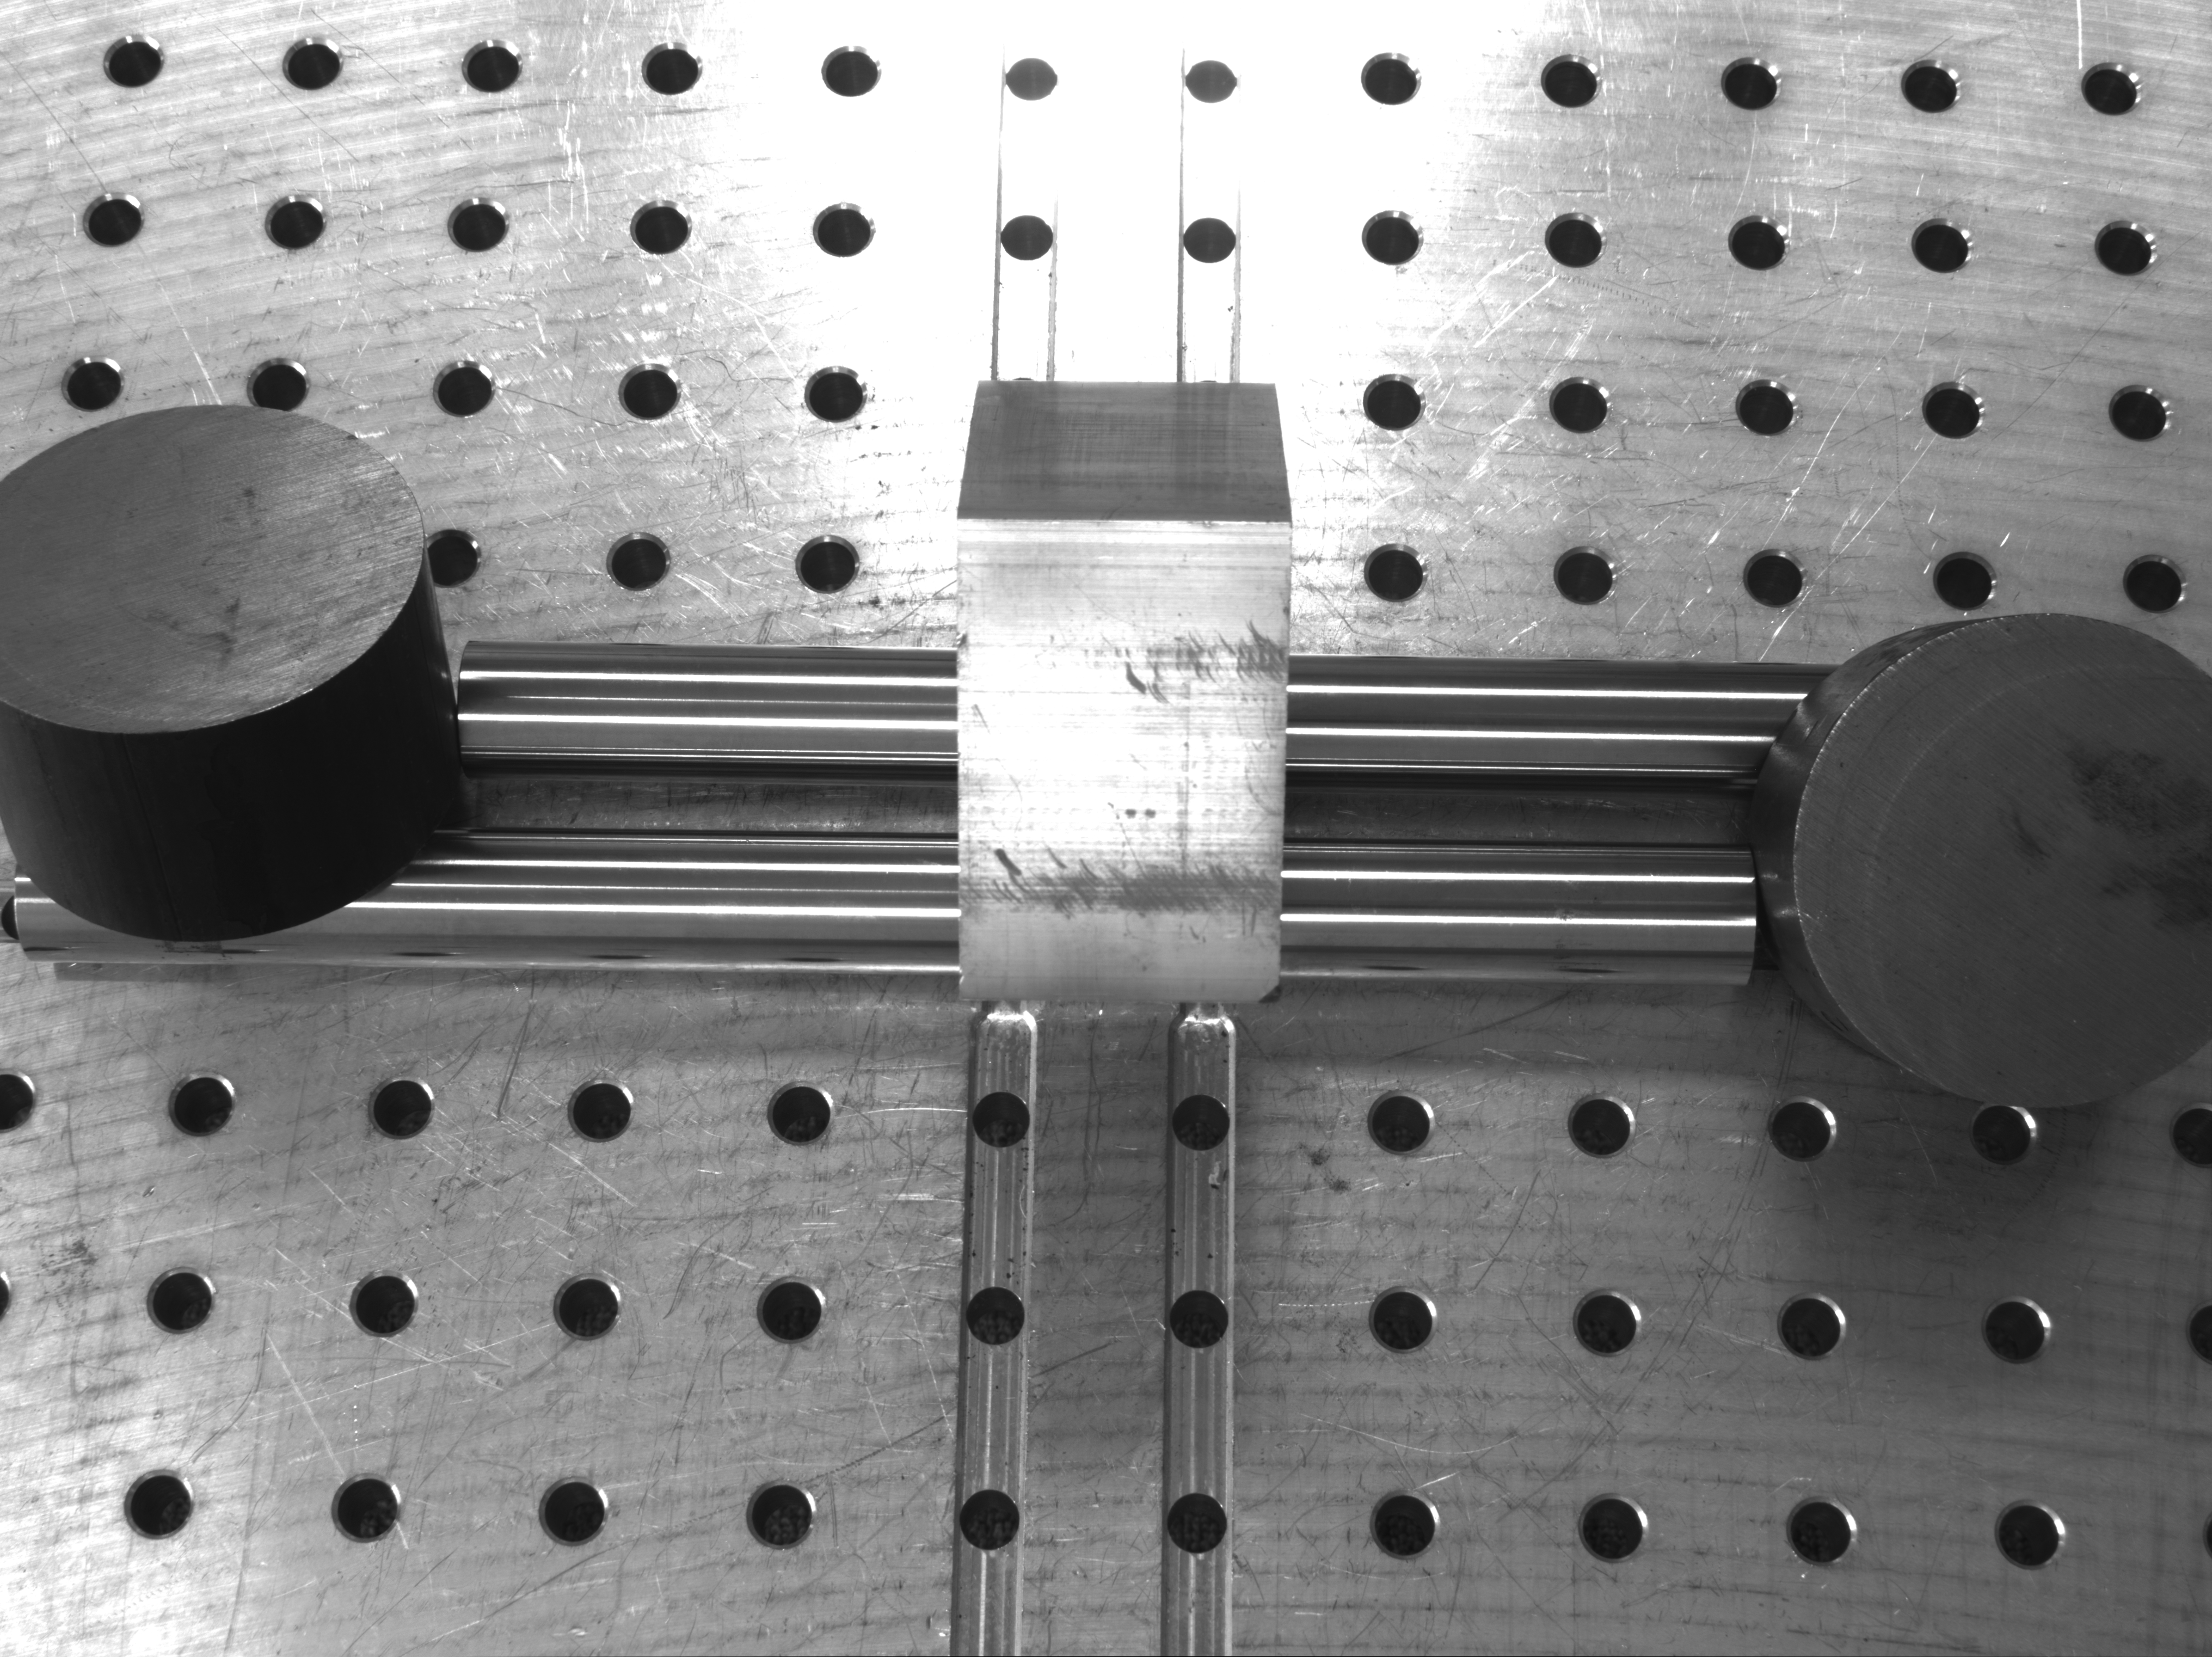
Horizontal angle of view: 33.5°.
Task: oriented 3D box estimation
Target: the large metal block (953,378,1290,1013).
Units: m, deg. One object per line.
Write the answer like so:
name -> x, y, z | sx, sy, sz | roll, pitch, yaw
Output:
large metal block -> 0.003, -0.024, 0.595 | 0.050, 0.080, 0.080 | 1, 112, 1

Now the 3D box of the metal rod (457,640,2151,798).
metal rod -> 0.037, -0.019, 0.654 | 0.300, 0.025, 0.025 | 1, 70, 0

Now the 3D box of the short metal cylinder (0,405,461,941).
short metal cylinder -> -0.154, -0.027, 0.630 | 0.080, 0.050, 0.080 | 0, 47, 0

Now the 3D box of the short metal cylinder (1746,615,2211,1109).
short metal cylinder -> 0.152, 0.005, 0.619 | 0.080, 0.050, 0.080 | 0, 92, 1

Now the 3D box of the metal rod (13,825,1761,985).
metal rod -> -0.038, 0.013, 0.643 | 0.300, 0.025, 0.025 | 1, 70, 0
